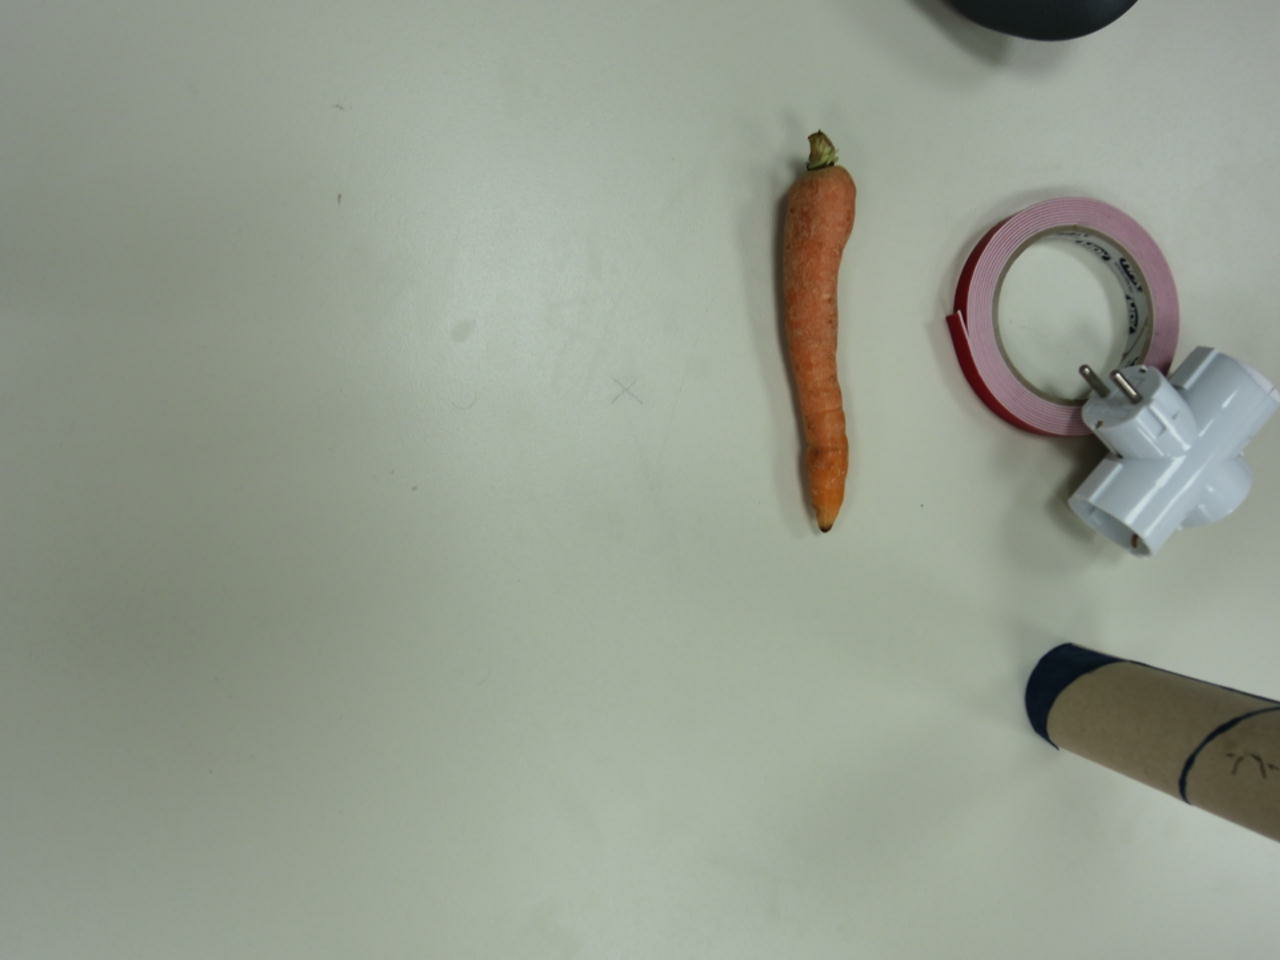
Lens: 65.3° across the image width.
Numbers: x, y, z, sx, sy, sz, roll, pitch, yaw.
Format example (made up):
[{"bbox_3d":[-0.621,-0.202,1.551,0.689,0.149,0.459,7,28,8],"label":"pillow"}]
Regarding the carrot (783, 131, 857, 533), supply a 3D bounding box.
[{"bbox_3d":[0.078,-0.063,0.437,0.030,0.032,0.173,-1,91,-12],"label":"carrot"}]
